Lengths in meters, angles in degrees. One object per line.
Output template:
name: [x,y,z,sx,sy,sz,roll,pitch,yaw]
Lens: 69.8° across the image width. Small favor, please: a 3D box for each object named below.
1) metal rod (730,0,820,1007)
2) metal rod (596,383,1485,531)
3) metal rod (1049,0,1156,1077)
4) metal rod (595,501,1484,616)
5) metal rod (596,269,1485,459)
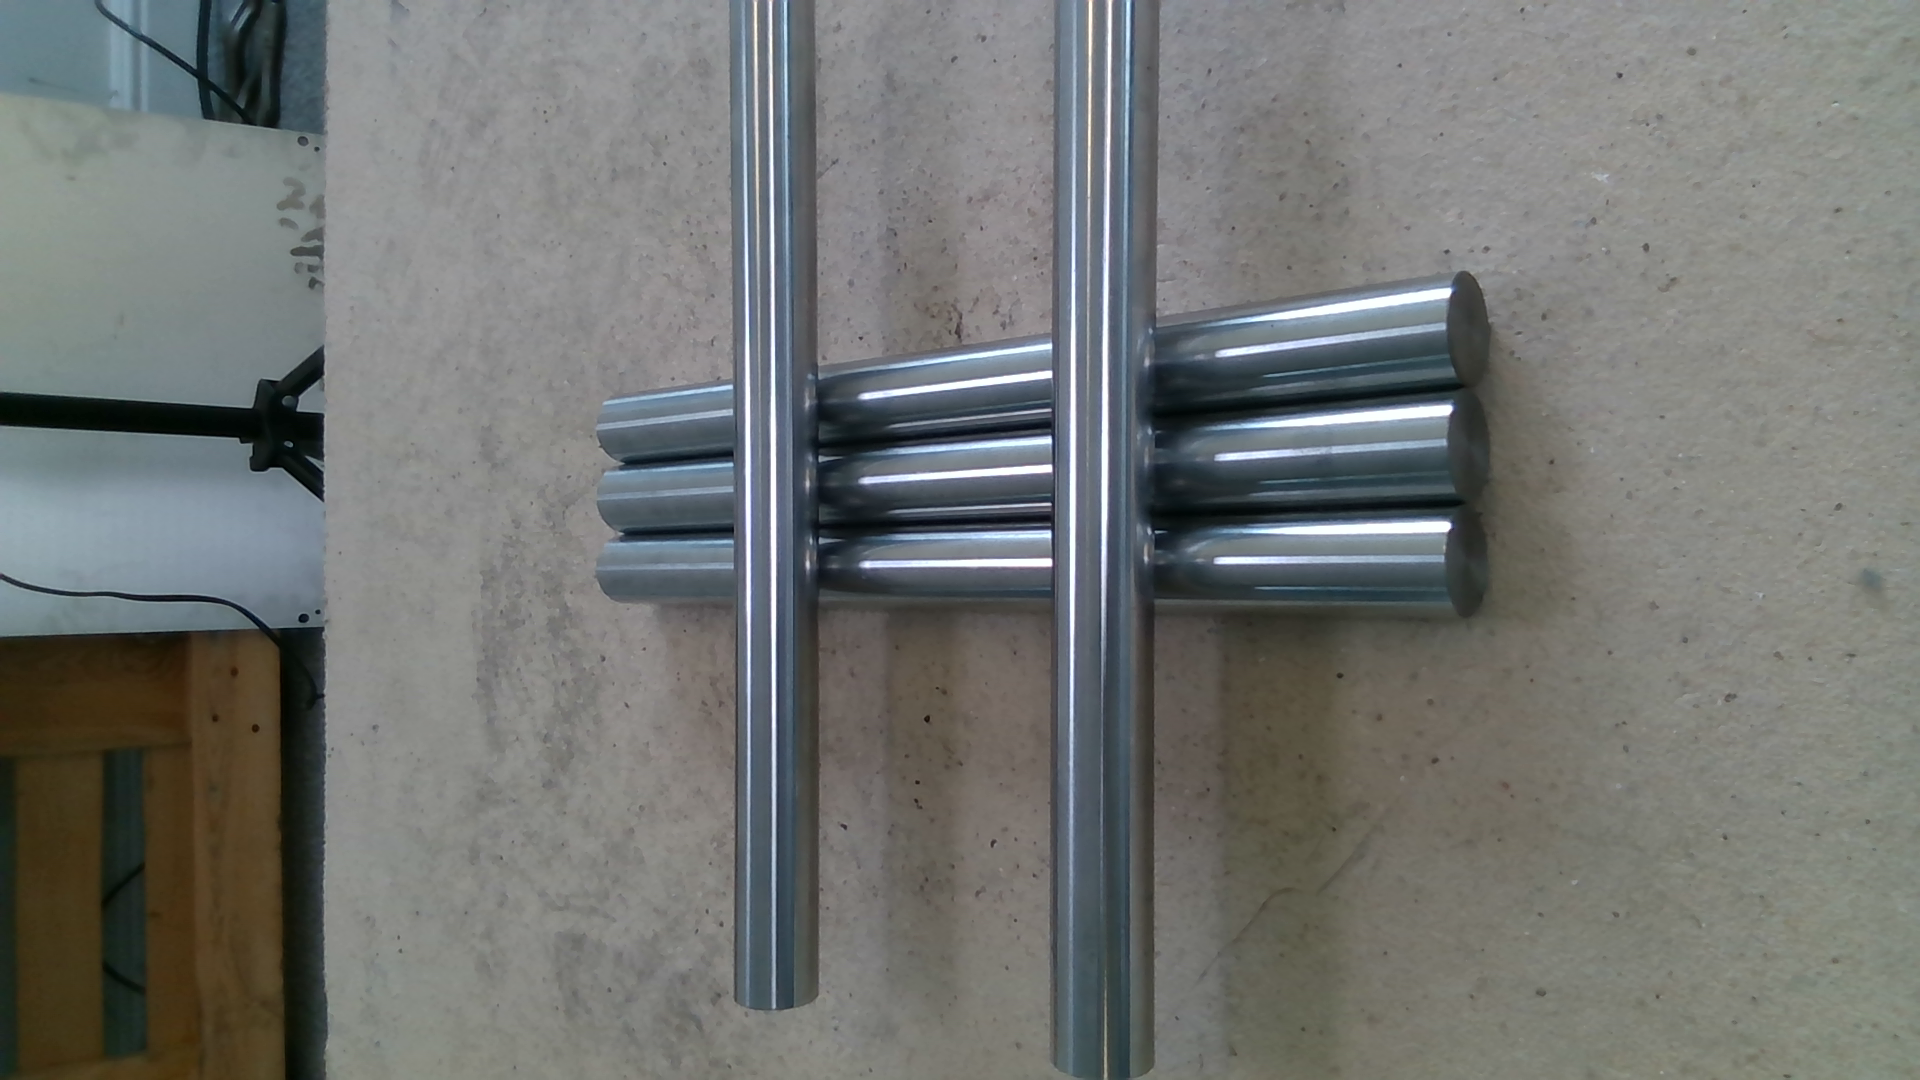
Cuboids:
metal rod: [-0.054,-0.017,0.404,0.025,0.025,0.300,0,91,40]
metal rod: [-0.005,-0.018,0.395,0.300,0.025,0.025,-2,89,40]
metal rod: [0.034,-0.026,0.329,0.025,0.025,0.300,1,91,40]
metal rod: [-0.005,0.007,0.396,0.300,0.025,0.025,-2,89,40]
metal rod: [-0.005,-0.043,0.395,0.300,0.025,0.025,-1,89,40]
